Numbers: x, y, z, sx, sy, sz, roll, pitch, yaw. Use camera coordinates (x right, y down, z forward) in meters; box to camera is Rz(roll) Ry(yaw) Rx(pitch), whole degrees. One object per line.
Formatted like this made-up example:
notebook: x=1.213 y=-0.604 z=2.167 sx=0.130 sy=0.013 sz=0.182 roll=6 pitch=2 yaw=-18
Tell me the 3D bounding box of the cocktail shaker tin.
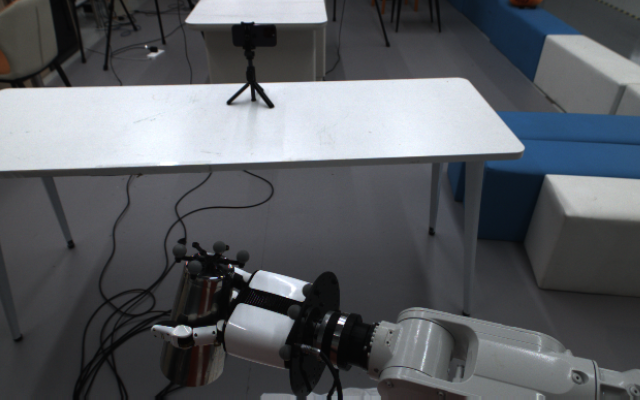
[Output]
cocktail shaker tin: x=-0.163 y=0.159 z=0.666 sx=0.093 sy=0.170 sz=0.093 roll=12 pitch=24 yaw=-5
